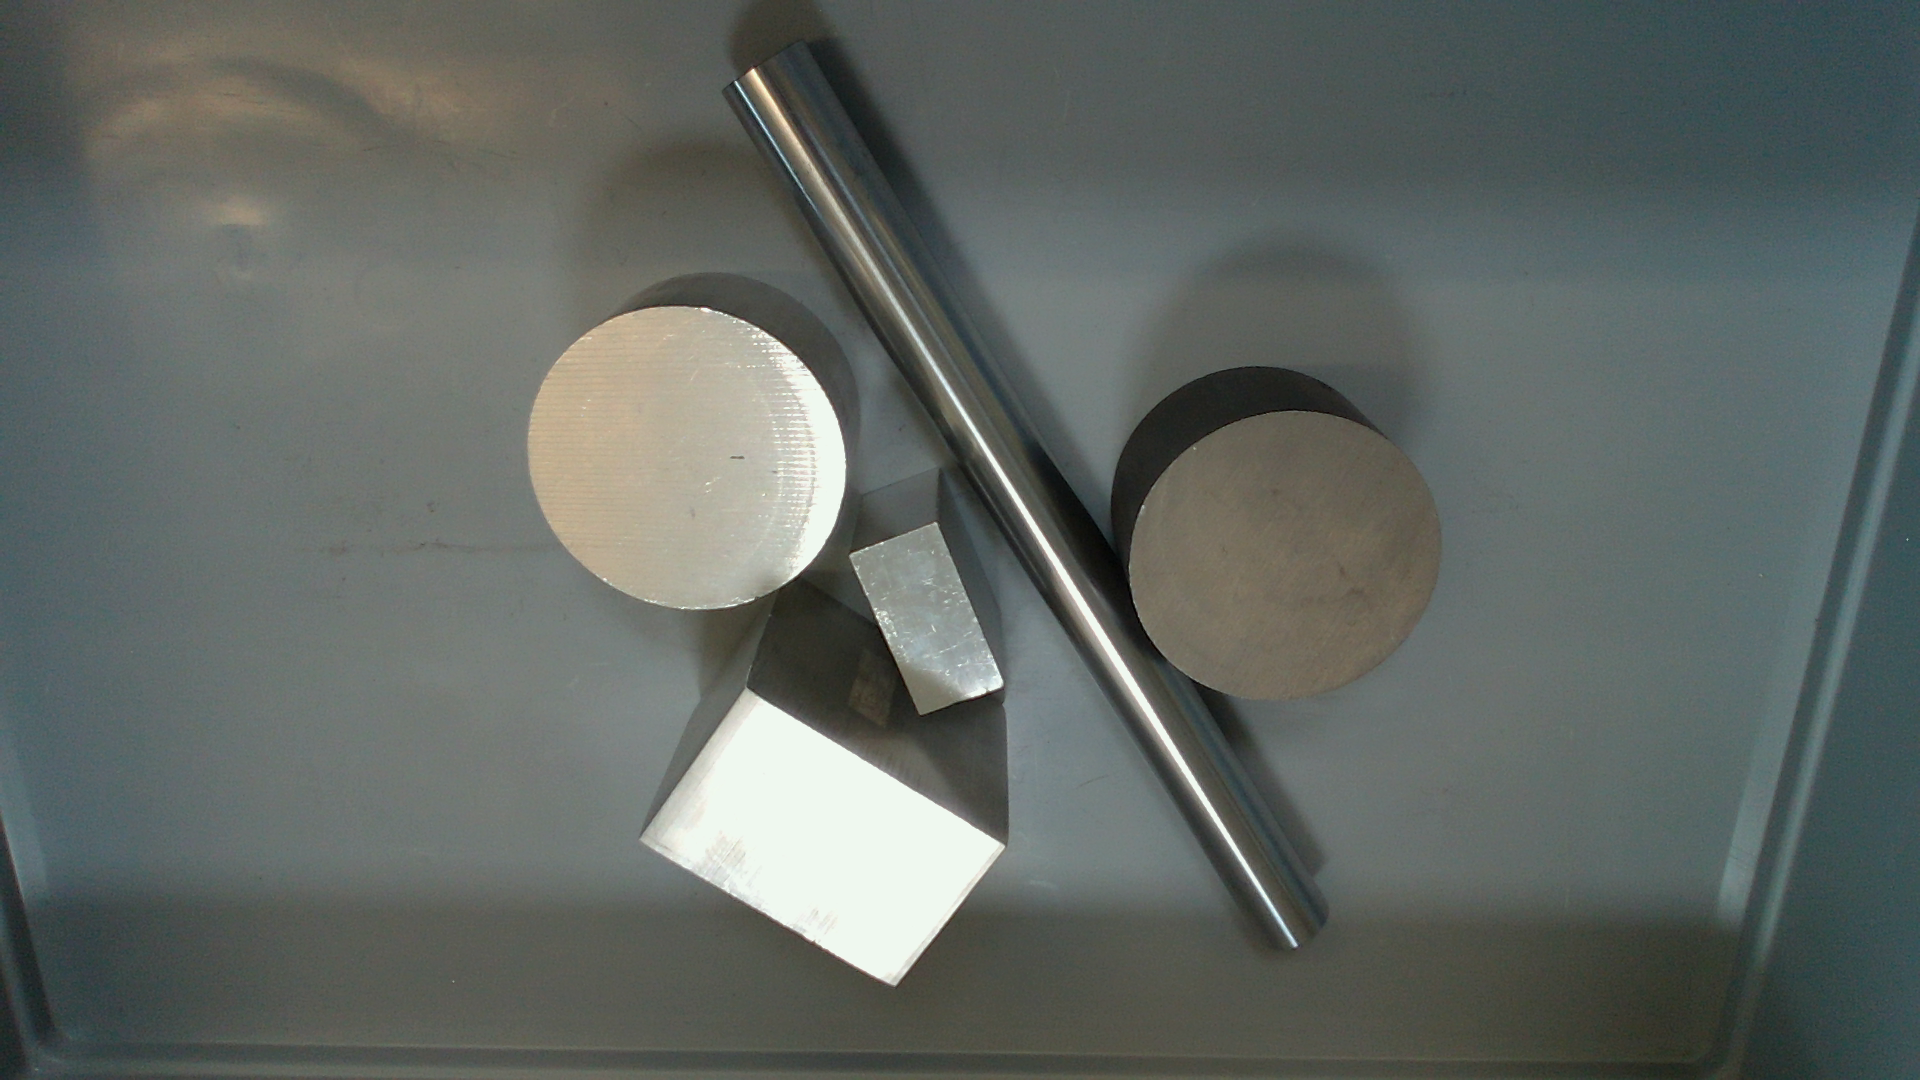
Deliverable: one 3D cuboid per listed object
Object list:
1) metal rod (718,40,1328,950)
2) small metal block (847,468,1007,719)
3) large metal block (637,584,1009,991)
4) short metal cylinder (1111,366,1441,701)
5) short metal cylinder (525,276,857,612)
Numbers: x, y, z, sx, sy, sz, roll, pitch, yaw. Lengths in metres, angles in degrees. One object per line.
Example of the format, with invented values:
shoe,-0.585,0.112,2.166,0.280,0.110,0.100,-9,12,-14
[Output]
metal rod,0.027,0.001,0.393,0.025,0.025,0.300,-30,108,10
small metal block,-0.008,0.013,0.384,0.025,0.050,0.050,-20,109,7
large metal block,-0.034,0.065,0.386,0.080,0.080,0.050,33,108,-11
short metal cylinder,0.084,-0.003,0.379,0.080,0.050,0.080,0,110,0
short metal cylinder,-0.069,-0.028,0.369,0.080,0.050,0.080,0,110,0
